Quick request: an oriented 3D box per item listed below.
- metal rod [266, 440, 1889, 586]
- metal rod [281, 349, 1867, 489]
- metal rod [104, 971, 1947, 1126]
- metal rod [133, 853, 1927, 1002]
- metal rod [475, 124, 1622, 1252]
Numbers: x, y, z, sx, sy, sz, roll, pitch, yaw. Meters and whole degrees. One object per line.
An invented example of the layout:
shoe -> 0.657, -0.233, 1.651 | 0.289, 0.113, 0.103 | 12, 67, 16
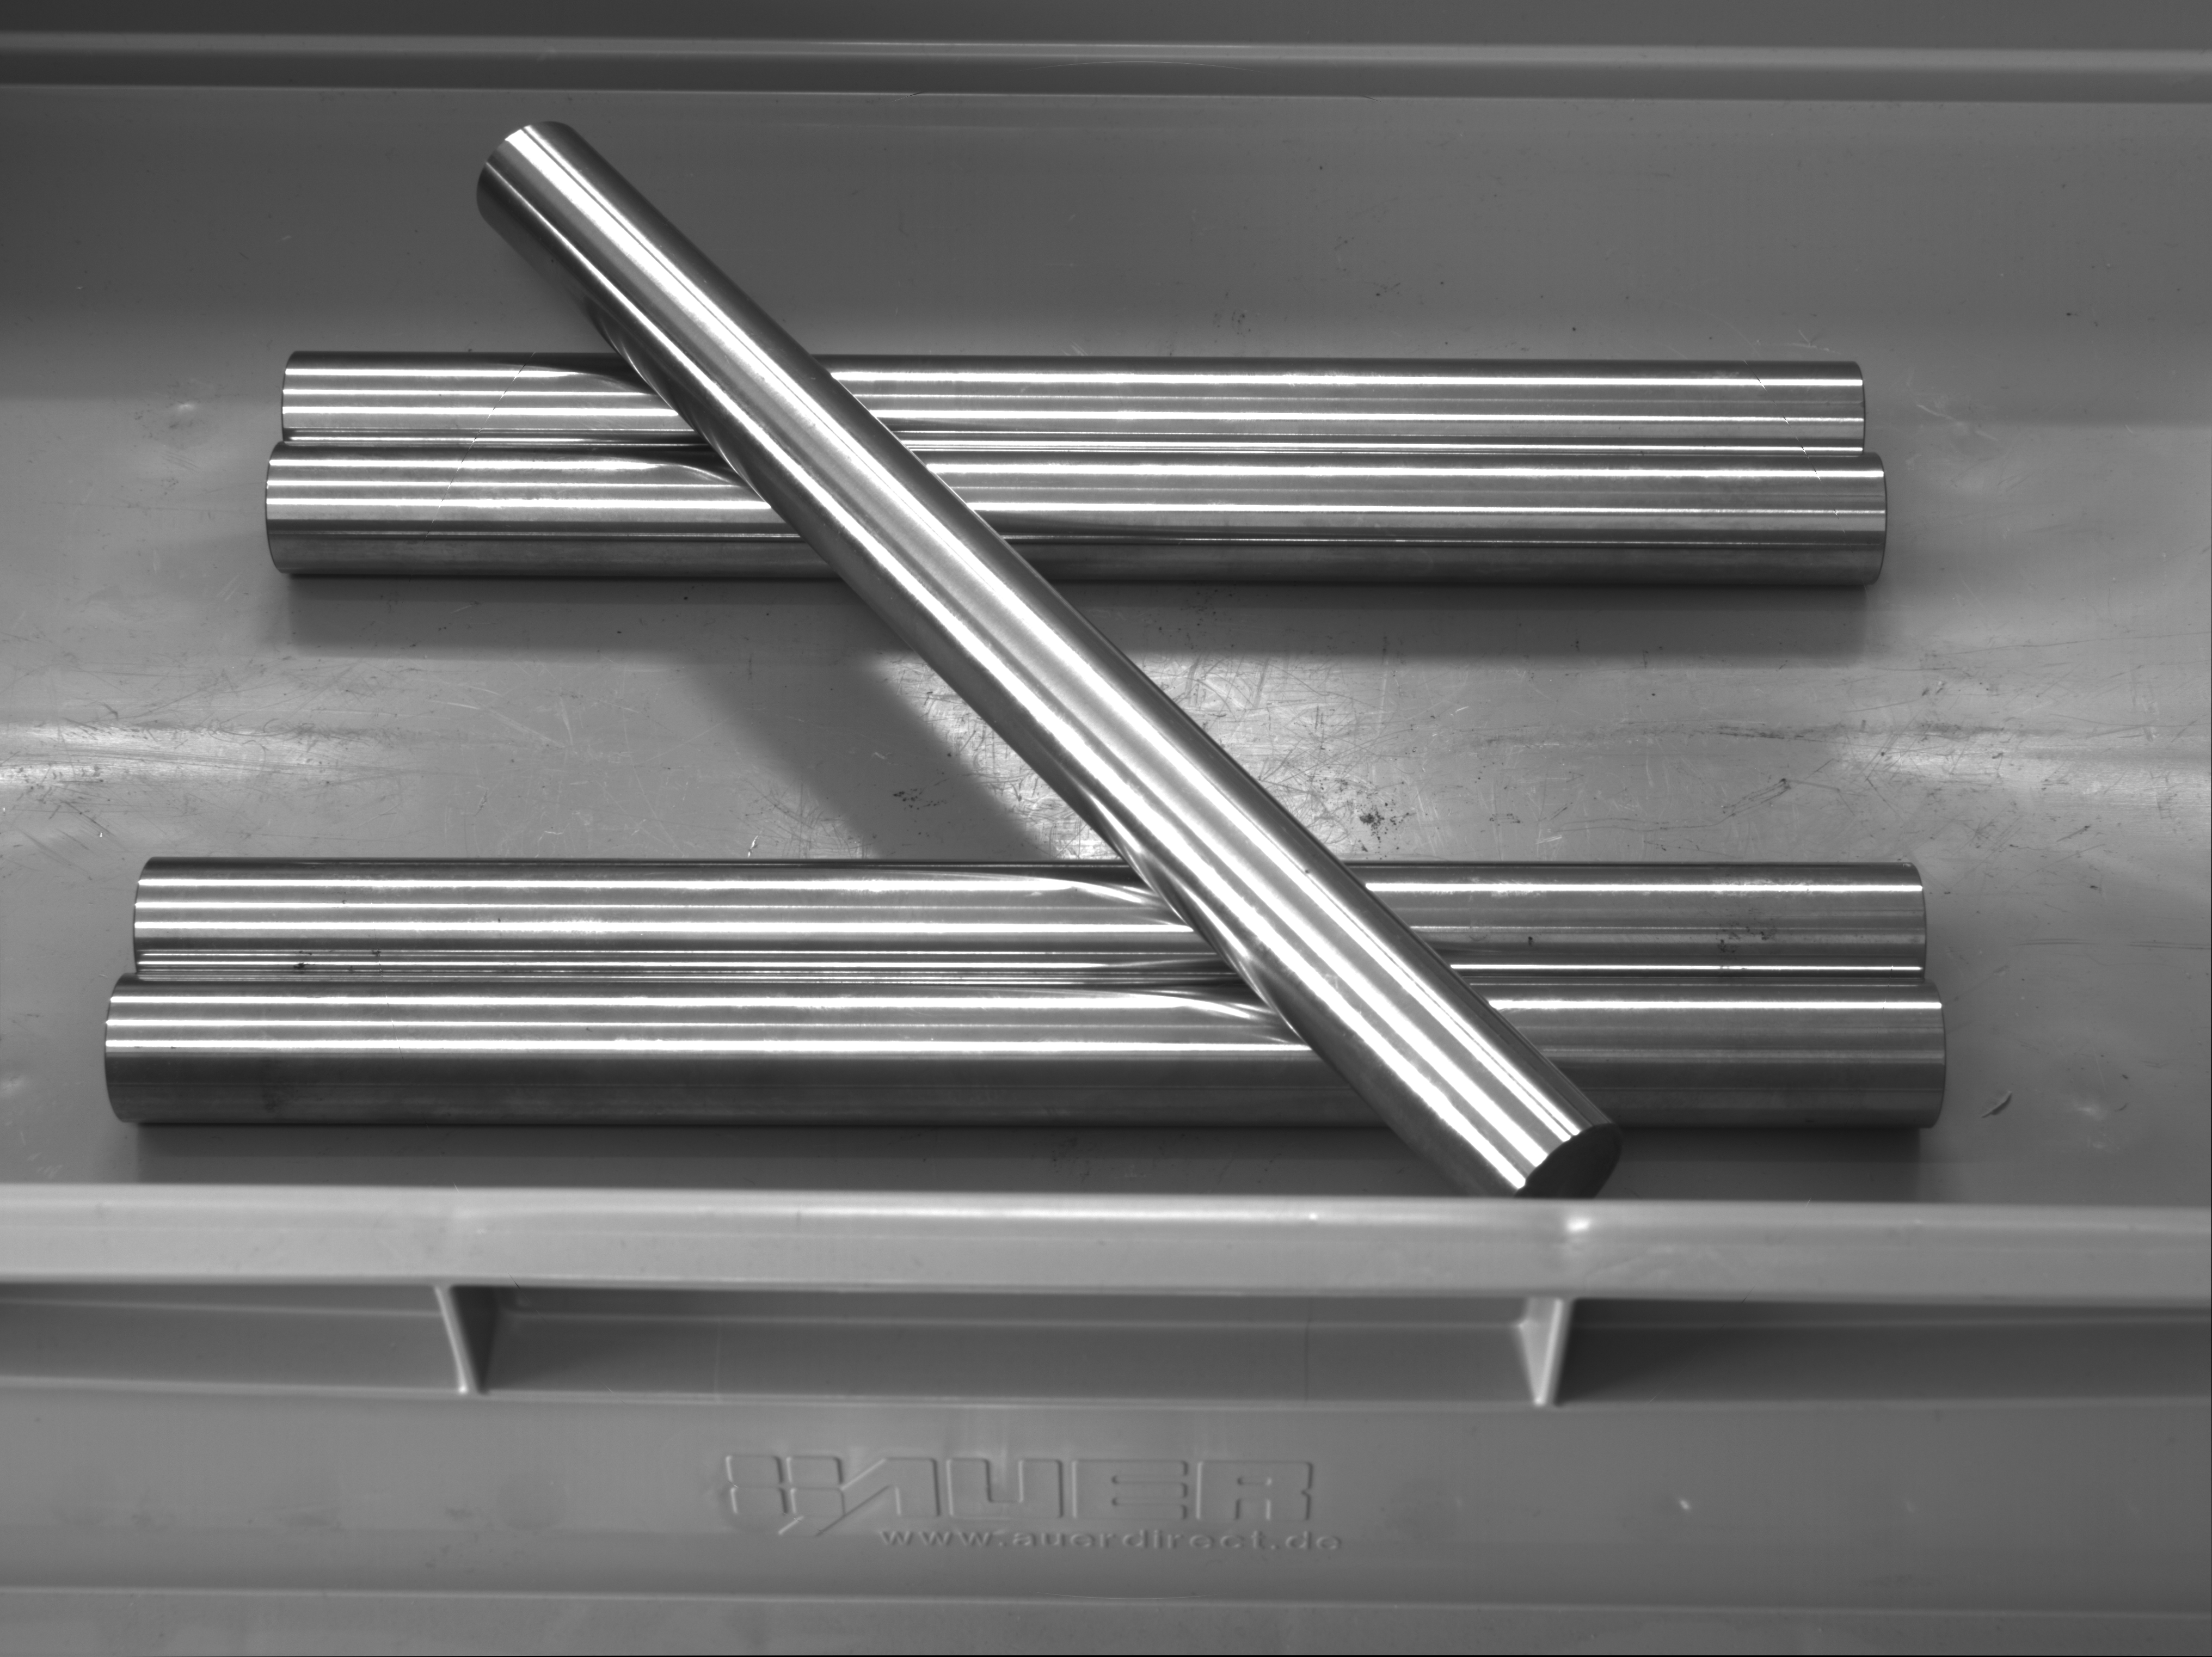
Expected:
metal rod -> -0.005, -0.059, 0.690 | 0.300, 0.025, 0.025 | 0, 50, 0
metal rod -> -0.006, -0.078, 0.706 | 0.300, 0.025, 0.025 | 0, 50, 0
metal rod -> -0.013, 0.037, 0.609 | 0.300, 0.025, 0.025 | 0, 50, 0
metal rod -> -0.013, 0.017, 0.625 | 0.300, 0.025, 0.025 | 0, 50, 0
metal rod -> -0.021, -0.035, 0.638 | 0.025, 0.025, 0.299 | -30, 56, -23
